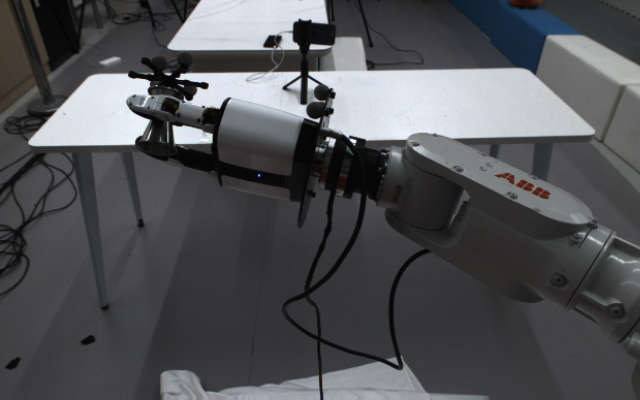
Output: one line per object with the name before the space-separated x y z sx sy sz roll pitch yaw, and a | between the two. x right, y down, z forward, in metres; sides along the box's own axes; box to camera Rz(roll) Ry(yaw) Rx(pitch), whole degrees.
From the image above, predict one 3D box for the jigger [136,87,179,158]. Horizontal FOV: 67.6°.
jigger | -0.179 -0.088 0.547 0.043 0.043 0.071 4 75 2
